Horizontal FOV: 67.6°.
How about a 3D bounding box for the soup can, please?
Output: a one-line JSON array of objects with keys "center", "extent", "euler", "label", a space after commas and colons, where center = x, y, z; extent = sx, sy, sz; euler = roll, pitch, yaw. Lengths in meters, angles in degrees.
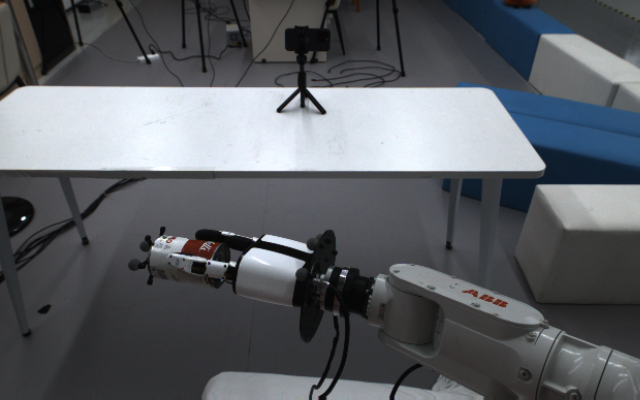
[{"center": [-0.191, 0.092, 0.717], "extent": [0.101, 0.067, 0.067], "euler": [6, 35, 12], "label": "soup can"}]
